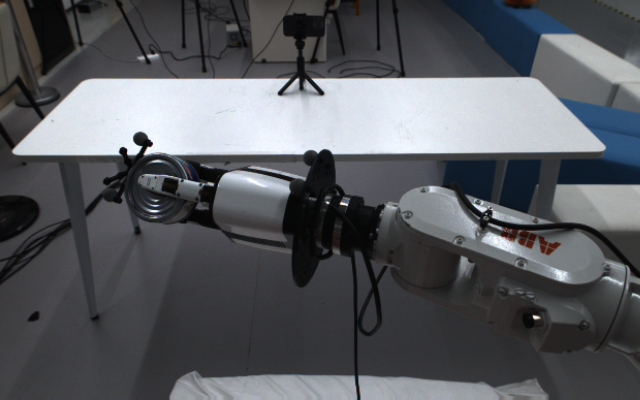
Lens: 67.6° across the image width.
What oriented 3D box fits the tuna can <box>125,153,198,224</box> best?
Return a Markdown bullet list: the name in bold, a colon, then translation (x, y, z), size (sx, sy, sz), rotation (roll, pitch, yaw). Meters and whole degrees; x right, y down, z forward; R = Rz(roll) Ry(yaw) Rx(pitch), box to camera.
- **tuna can**: translation (-0.189, -0.010, 0.587), size (0.085, 0.085, 0.034), rotation (9, -3, 10)
